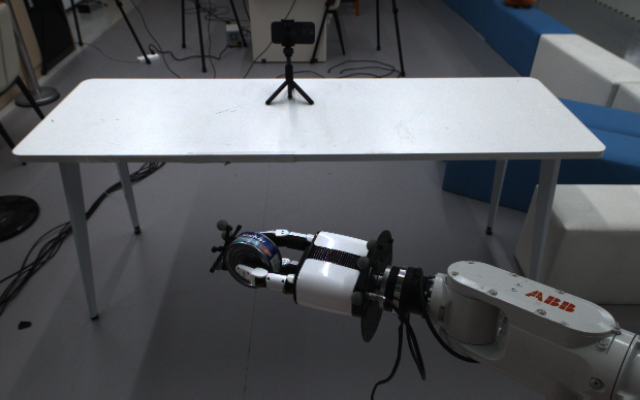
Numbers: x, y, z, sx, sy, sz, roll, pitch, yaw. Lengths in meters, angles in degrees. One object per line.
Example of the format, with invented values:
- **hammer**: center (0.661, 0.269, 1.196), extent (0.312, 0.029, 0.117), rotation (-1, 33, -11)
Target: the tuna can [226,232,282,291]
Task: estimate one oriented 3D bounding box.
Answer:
- **tuna can**: center (-0.101, 0.090, 0.742), extent (0.085, 0.085, 0.034), rotation (14, 31, 17)
